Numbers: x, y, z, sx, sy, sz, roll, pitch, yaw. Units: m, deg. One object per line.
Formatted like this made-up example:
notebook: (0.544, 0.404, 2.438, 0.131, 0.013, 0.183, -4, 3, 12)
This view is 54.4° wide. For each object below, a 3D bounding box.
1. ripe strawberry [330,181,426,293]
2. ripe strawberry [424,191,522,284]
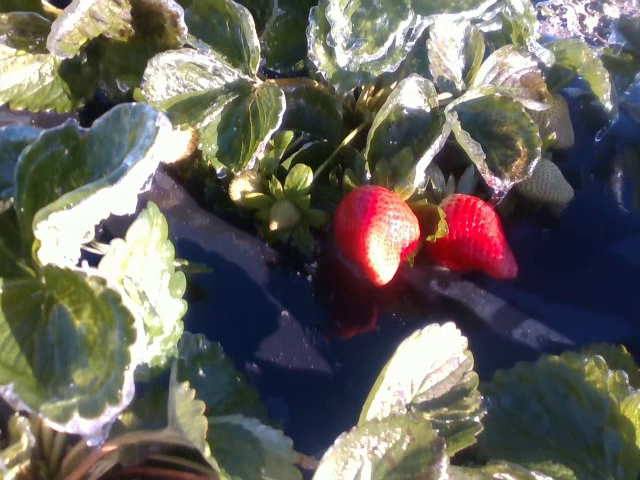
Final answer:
ripe strawberry: (0.035, 0.000, 0.332, 0.052, 0.070, 0.040, 23, -39, -15)
ripe strawberry: (0.089, -0.005, 0.341, 0.043, 0.059, 0.040, -26, -20, -28)
